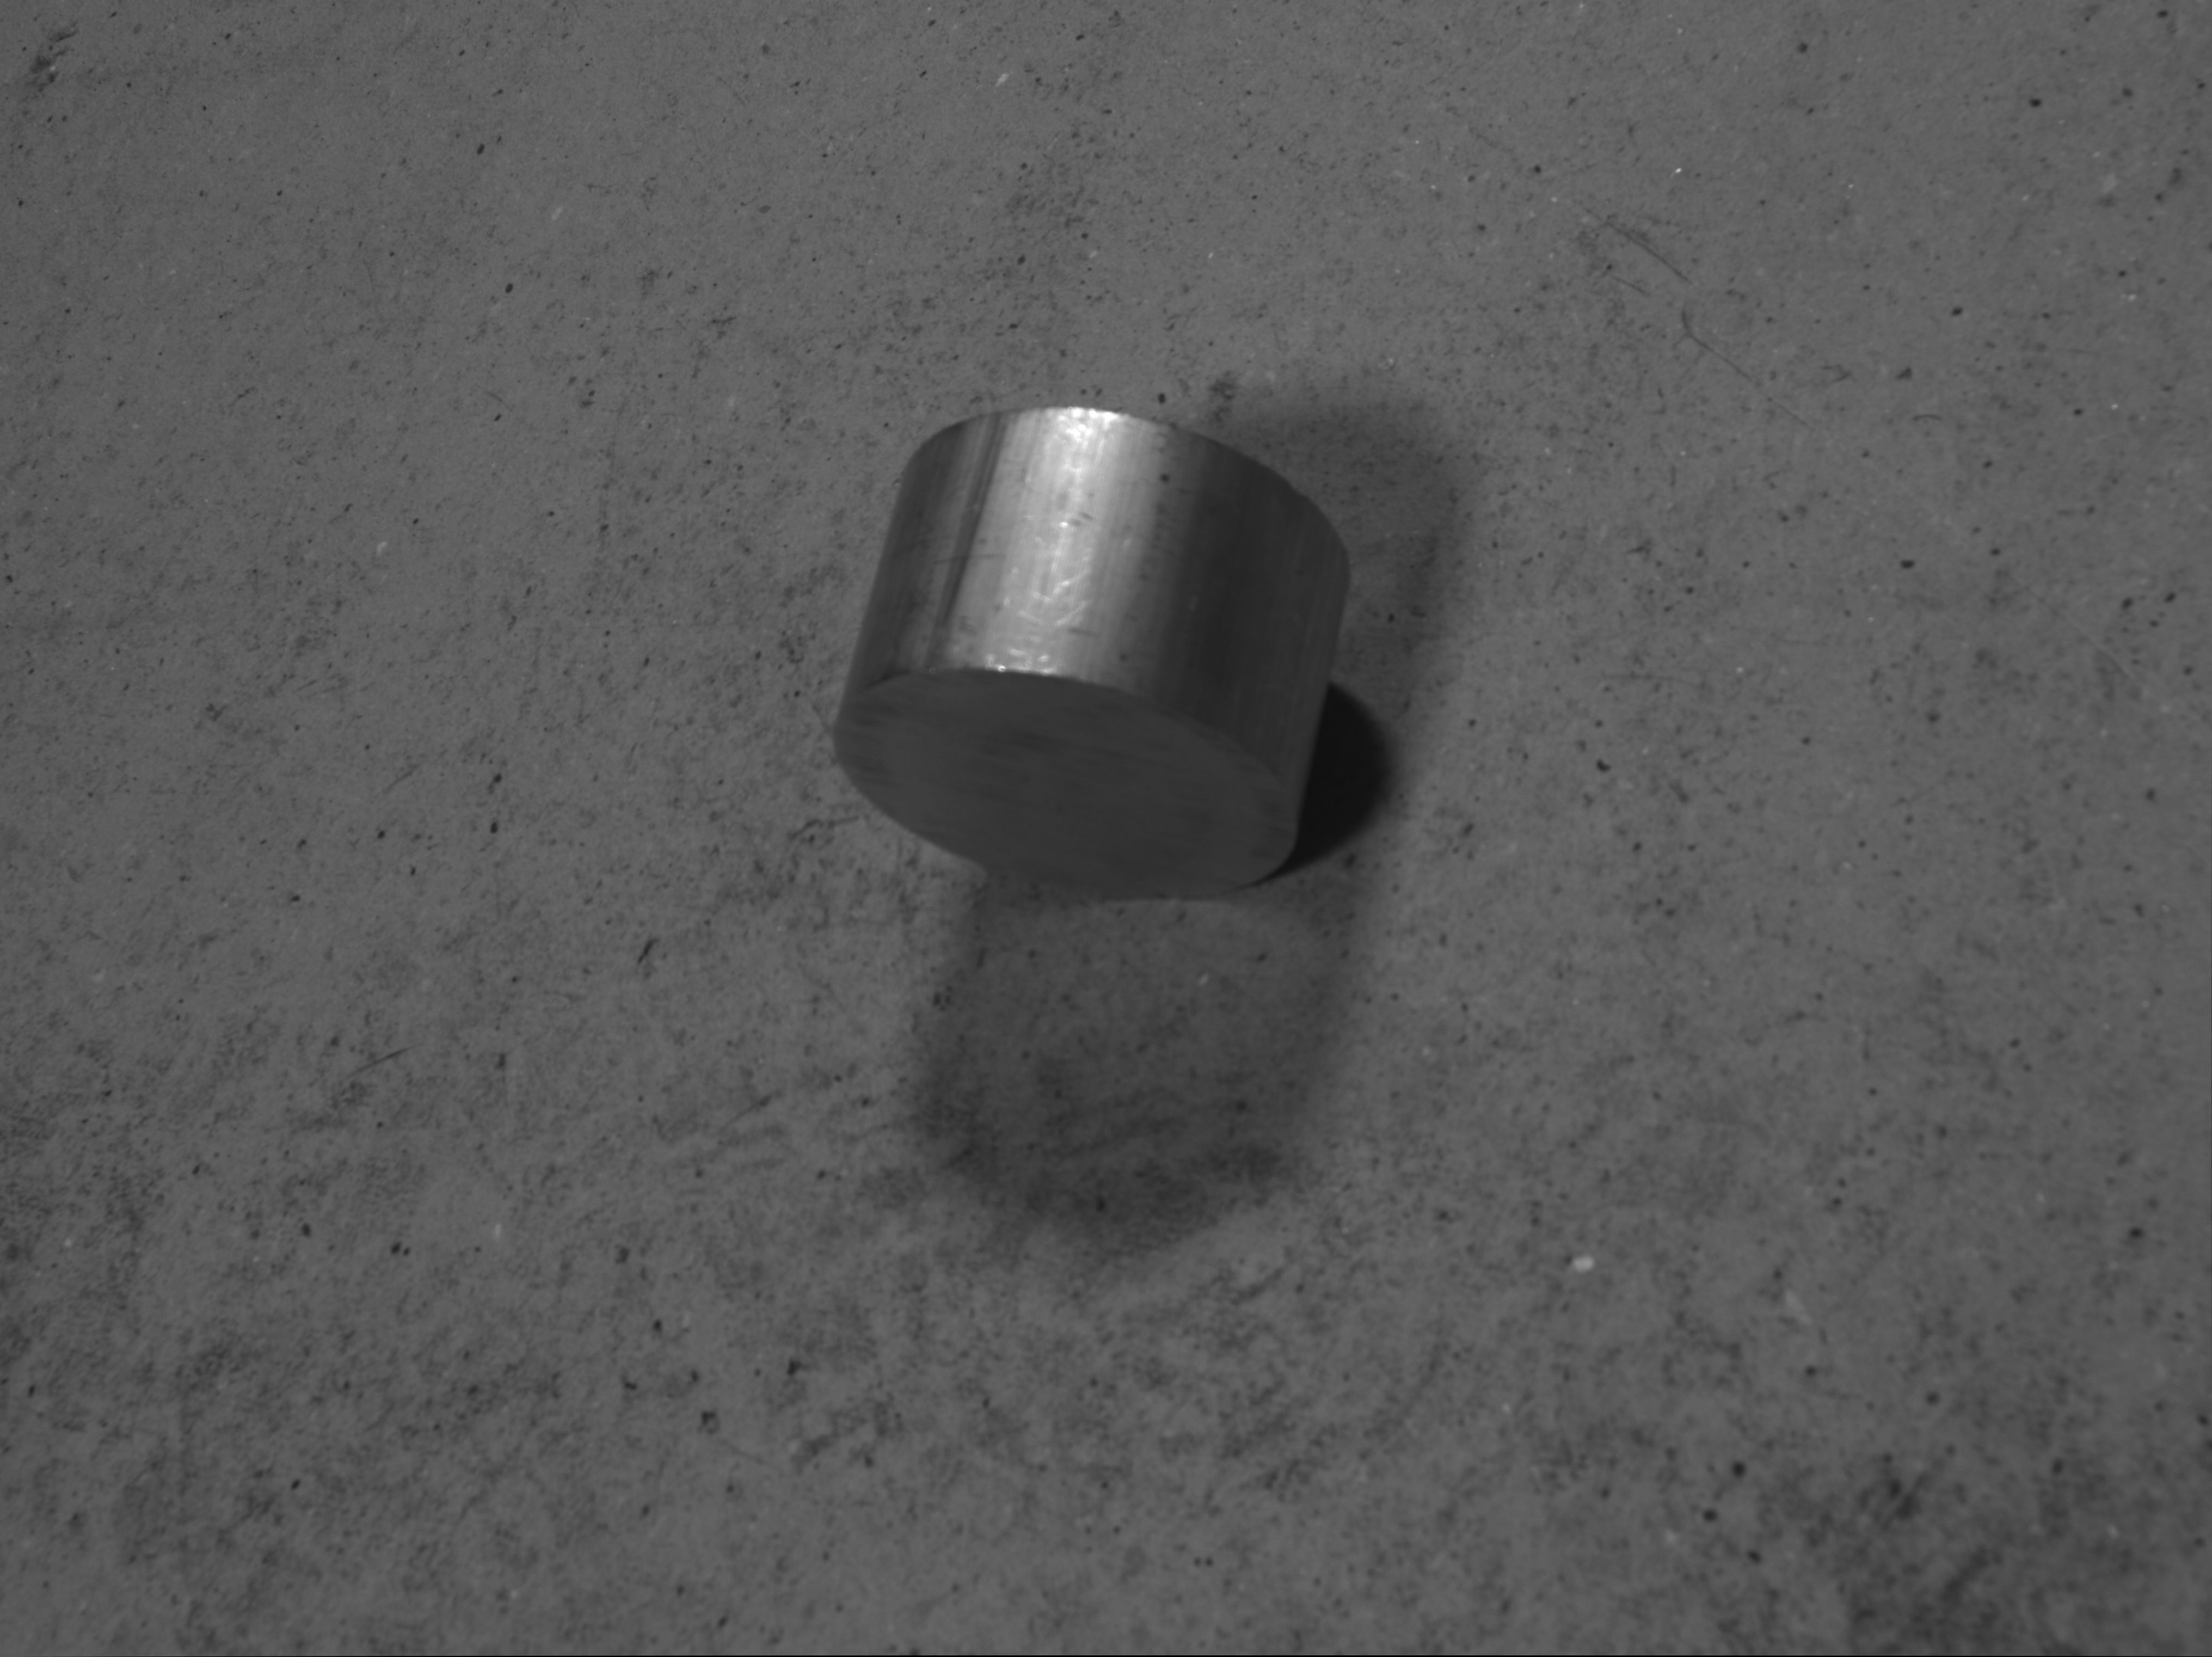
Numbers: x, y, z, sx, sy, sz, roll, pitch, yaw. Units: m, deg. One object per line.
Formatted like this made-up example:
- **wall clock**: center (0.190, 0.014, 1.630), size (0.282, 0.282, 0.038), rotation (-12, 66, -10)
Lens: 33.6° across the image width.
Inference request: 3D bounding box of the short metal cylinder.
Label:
- **short metal cylinder**: center (0.001, -0.028, 0.626), size (0.080, 0.080, 0.050), rotation (-1, 61, 28)
